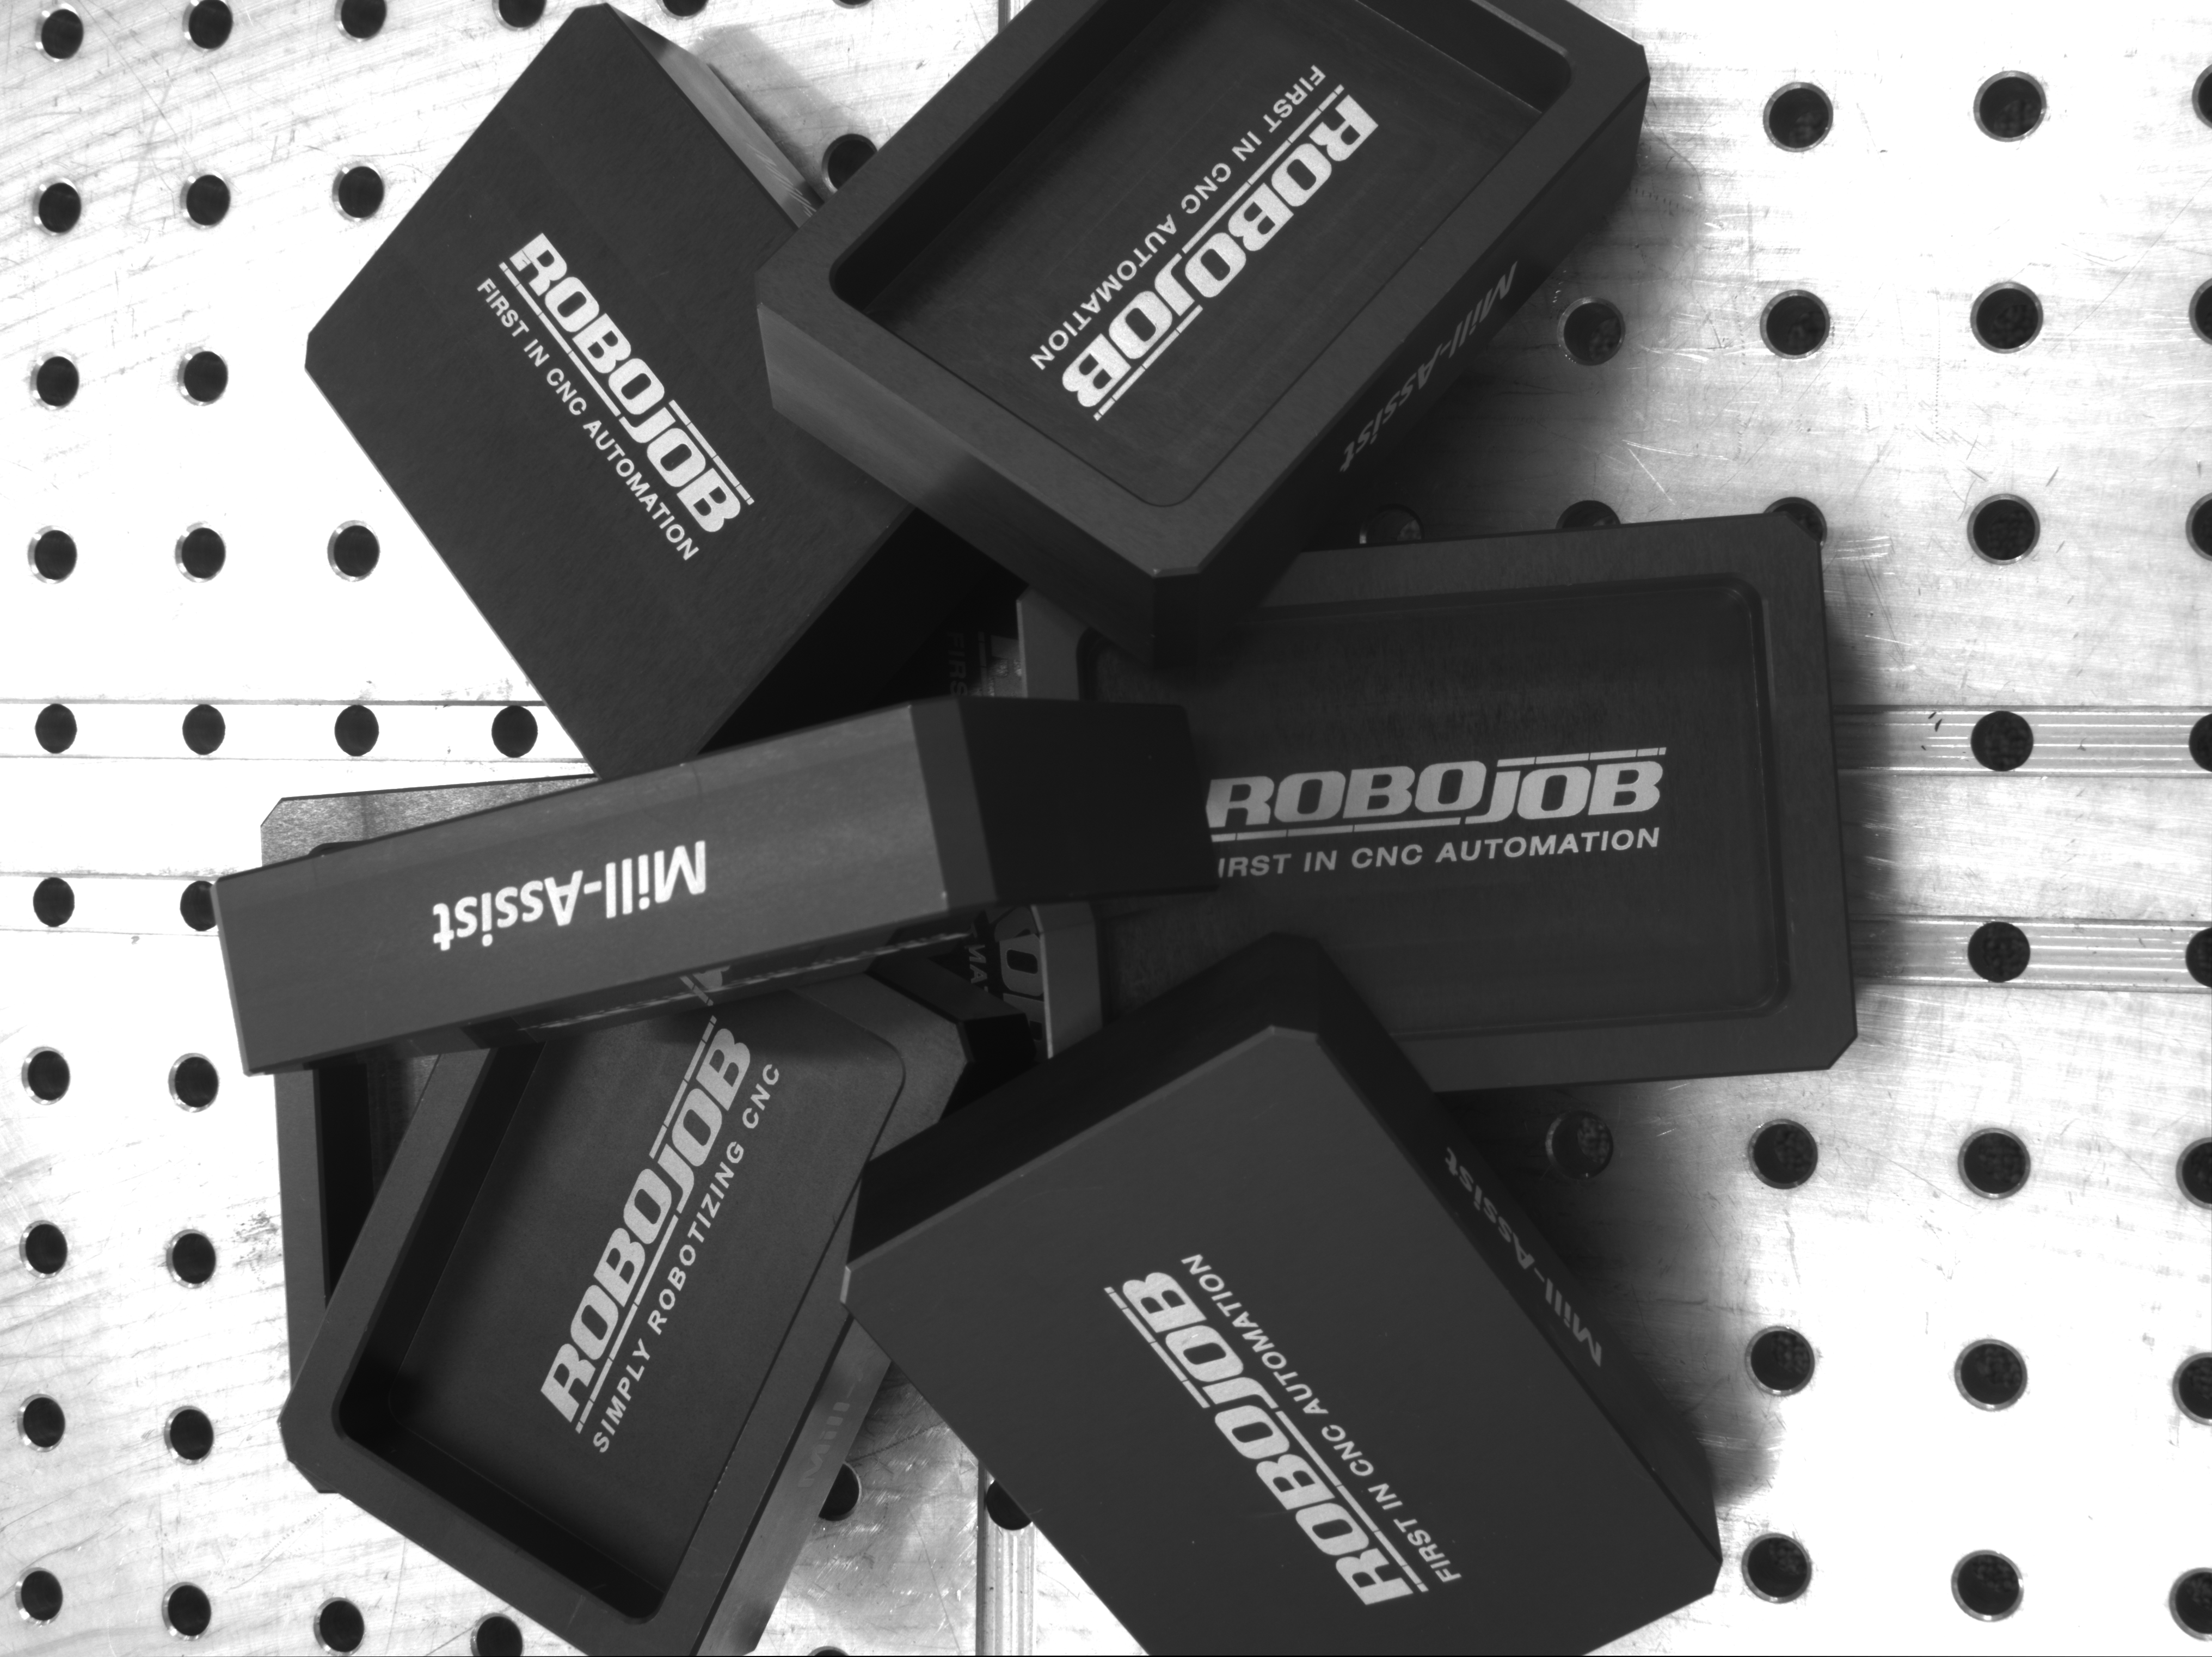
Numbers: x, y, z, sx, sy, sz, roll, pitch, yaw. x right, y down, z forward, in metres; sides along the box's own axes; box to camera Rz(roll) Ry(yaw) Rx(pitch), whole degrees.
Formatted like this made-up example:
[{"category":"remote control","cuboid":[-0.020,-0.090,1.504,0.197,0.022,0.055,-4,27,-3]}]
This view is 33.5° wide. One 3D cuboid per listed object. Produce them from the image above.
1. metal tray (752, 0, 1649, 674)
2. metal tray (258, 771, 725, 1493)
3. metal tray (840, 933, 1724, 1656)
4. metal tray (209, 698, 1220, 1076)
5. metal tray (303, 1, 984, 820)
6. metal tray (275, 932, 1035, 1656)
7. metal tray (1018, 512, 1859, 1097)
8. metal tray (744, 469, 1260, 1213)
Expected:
[{"category":"metal tray","cuboid":[0.016,-0.098,0.605,0.090,0.030,0.130,35,69,17]},{"category":"metal tray","cuboid":[-0.109,0.056,0.687,0.090,0.030,0.130,-5,88,19]},{"category":"metal tray","cuboid":[0.030,0.090,0.600,0.090,0.030,0.130,-31,113,18]},{"category":"metal tray","cuboid":[-0.059,0.009,0.568,0.130,0.090,0.030,-13,85,24]},{"category":"metal tray","cuboid":[-0.080,-0.075,0.658,0.090,0.030,0.130,-47,60,14]},{"category":"metal tray","cuboid":[-0.080,0.072,0.643,0.090,0.030,0.130,28,99,18]},{"category":"metal tray","cuboid":[0.054,-0.001,0.608,0.130,0.030,0.090,-4,88,3]},{"category":"metal tray","cuboid":[-0.019,0.003,0.653,0.090,0.030,0.130,-5,86,18]}]
